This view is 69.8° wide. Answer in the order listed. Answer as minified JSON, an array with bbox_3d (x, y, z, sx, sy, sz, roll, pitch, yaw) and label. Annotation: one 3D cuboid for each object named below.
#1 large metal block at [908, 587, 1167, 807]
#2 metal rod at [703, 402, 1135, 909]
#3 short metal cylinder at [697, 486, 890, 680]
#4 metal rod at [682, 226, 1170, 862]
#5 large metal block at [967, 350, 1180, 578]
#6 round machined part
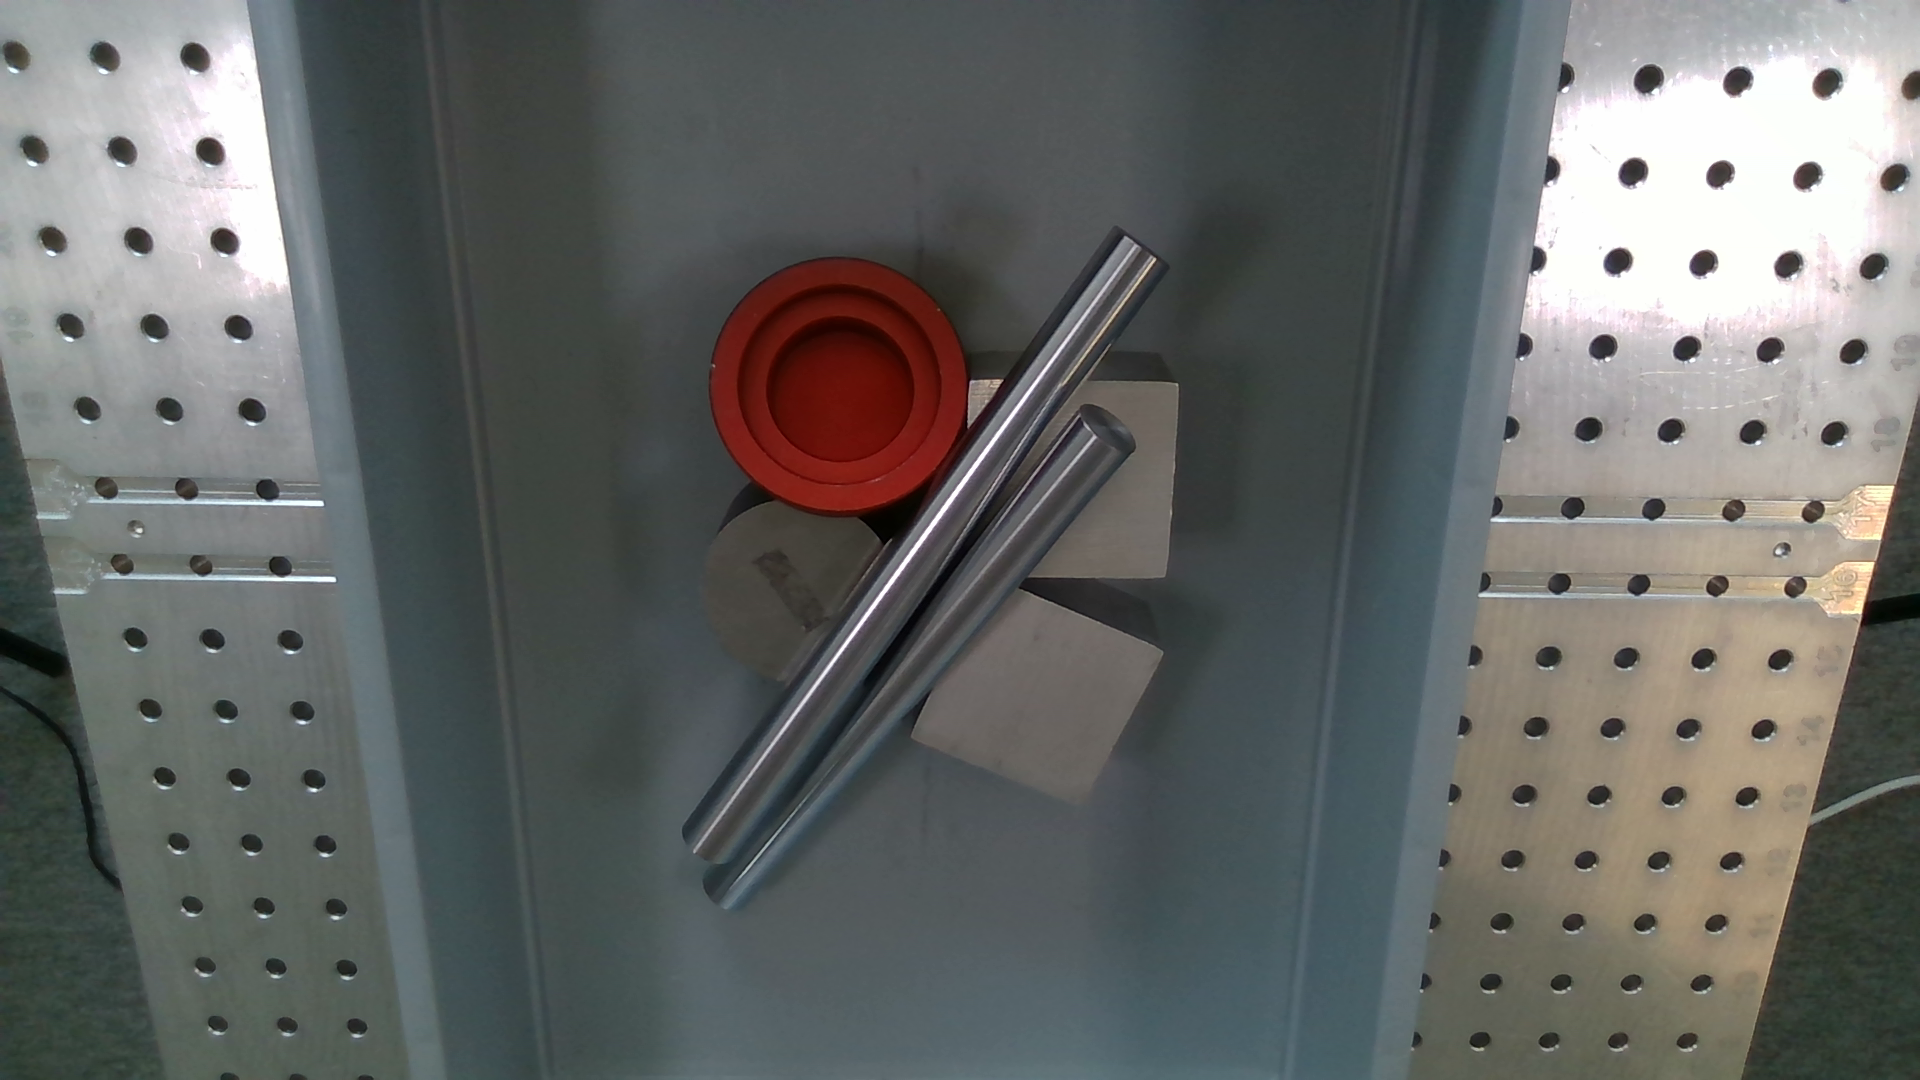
[{"bbox_3d":[0.031,0.055,0.590,0.080,0.050,0.080,23,109,-8],"label":"large metal block"},{"bbox_3d":[-0.028,0.060,0.566,0.025,0.025,0.301,32,121,-11],"label":"metal rod"},{"bbox_3d":[-0.065,0.013,0.574,0.080,0.050,0.080,0,110,0],"label":"short metal cylinder"},{"bbox_3d":[-0.021,0.011,0.533,0.025,0.025,0.300,33,108,-11],"label":"metal rod"},{"bbox_3d":[0.042,-0.031,0.555,0.080,0.050,0.080,1,110,0],"label":"large metal block"},{"bbox_3d":[-0.047,-0.058,0.541,0.098,0.042,0.098,0,87,-3],"label":"round machined part"}]
